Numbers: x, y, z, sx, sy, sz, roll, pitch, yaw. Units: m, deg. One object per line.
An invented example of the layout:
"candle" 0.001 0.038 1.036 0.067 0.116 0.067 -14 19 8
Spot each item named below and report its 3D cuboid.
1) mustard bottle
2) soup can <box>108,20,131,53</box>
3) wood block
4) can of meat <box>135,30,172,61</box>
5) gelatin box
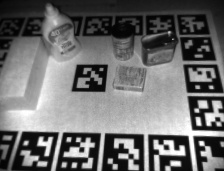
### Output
"mustard bottle" -0.171 -0.165 0.648 0.096 0.193 0.058 -22 60 -9
"soup can" 0.025 -0.155 0.664 0.068 0.103 0.067 -2 62 5
"wood block" -0.270 -0.050 0.644 0.091 0.090 0.205 2 56 5
"can of meat" 0.123 -0.127 0.661 0.102 0.084 0.057 -11 60 -4
"gelatin box" 0.043 -0.034 0.640 0.089 0.030 0.073 8 63 12
